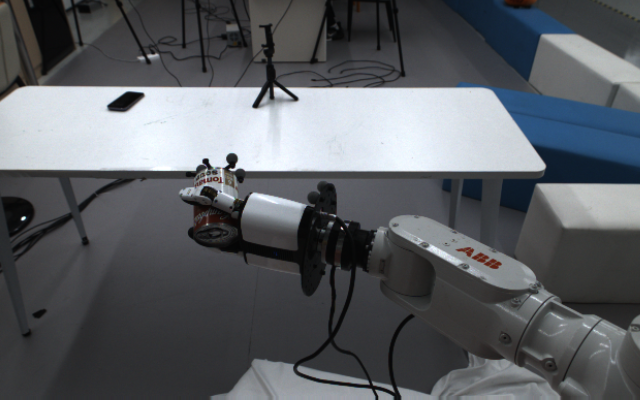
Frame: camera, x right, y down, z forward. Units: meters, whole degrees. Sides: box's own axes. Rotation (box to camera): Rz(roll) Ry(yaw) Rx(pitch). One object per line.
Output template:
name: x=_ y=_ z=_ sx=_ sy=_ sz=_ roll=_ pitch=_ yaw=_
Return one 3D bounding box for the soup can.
soup can: x=-0.153 y=0.012 z=0.716 sx=0.067 sy=0.067 sz=0.101 roll=-5 pitch=57 yaw=-10
